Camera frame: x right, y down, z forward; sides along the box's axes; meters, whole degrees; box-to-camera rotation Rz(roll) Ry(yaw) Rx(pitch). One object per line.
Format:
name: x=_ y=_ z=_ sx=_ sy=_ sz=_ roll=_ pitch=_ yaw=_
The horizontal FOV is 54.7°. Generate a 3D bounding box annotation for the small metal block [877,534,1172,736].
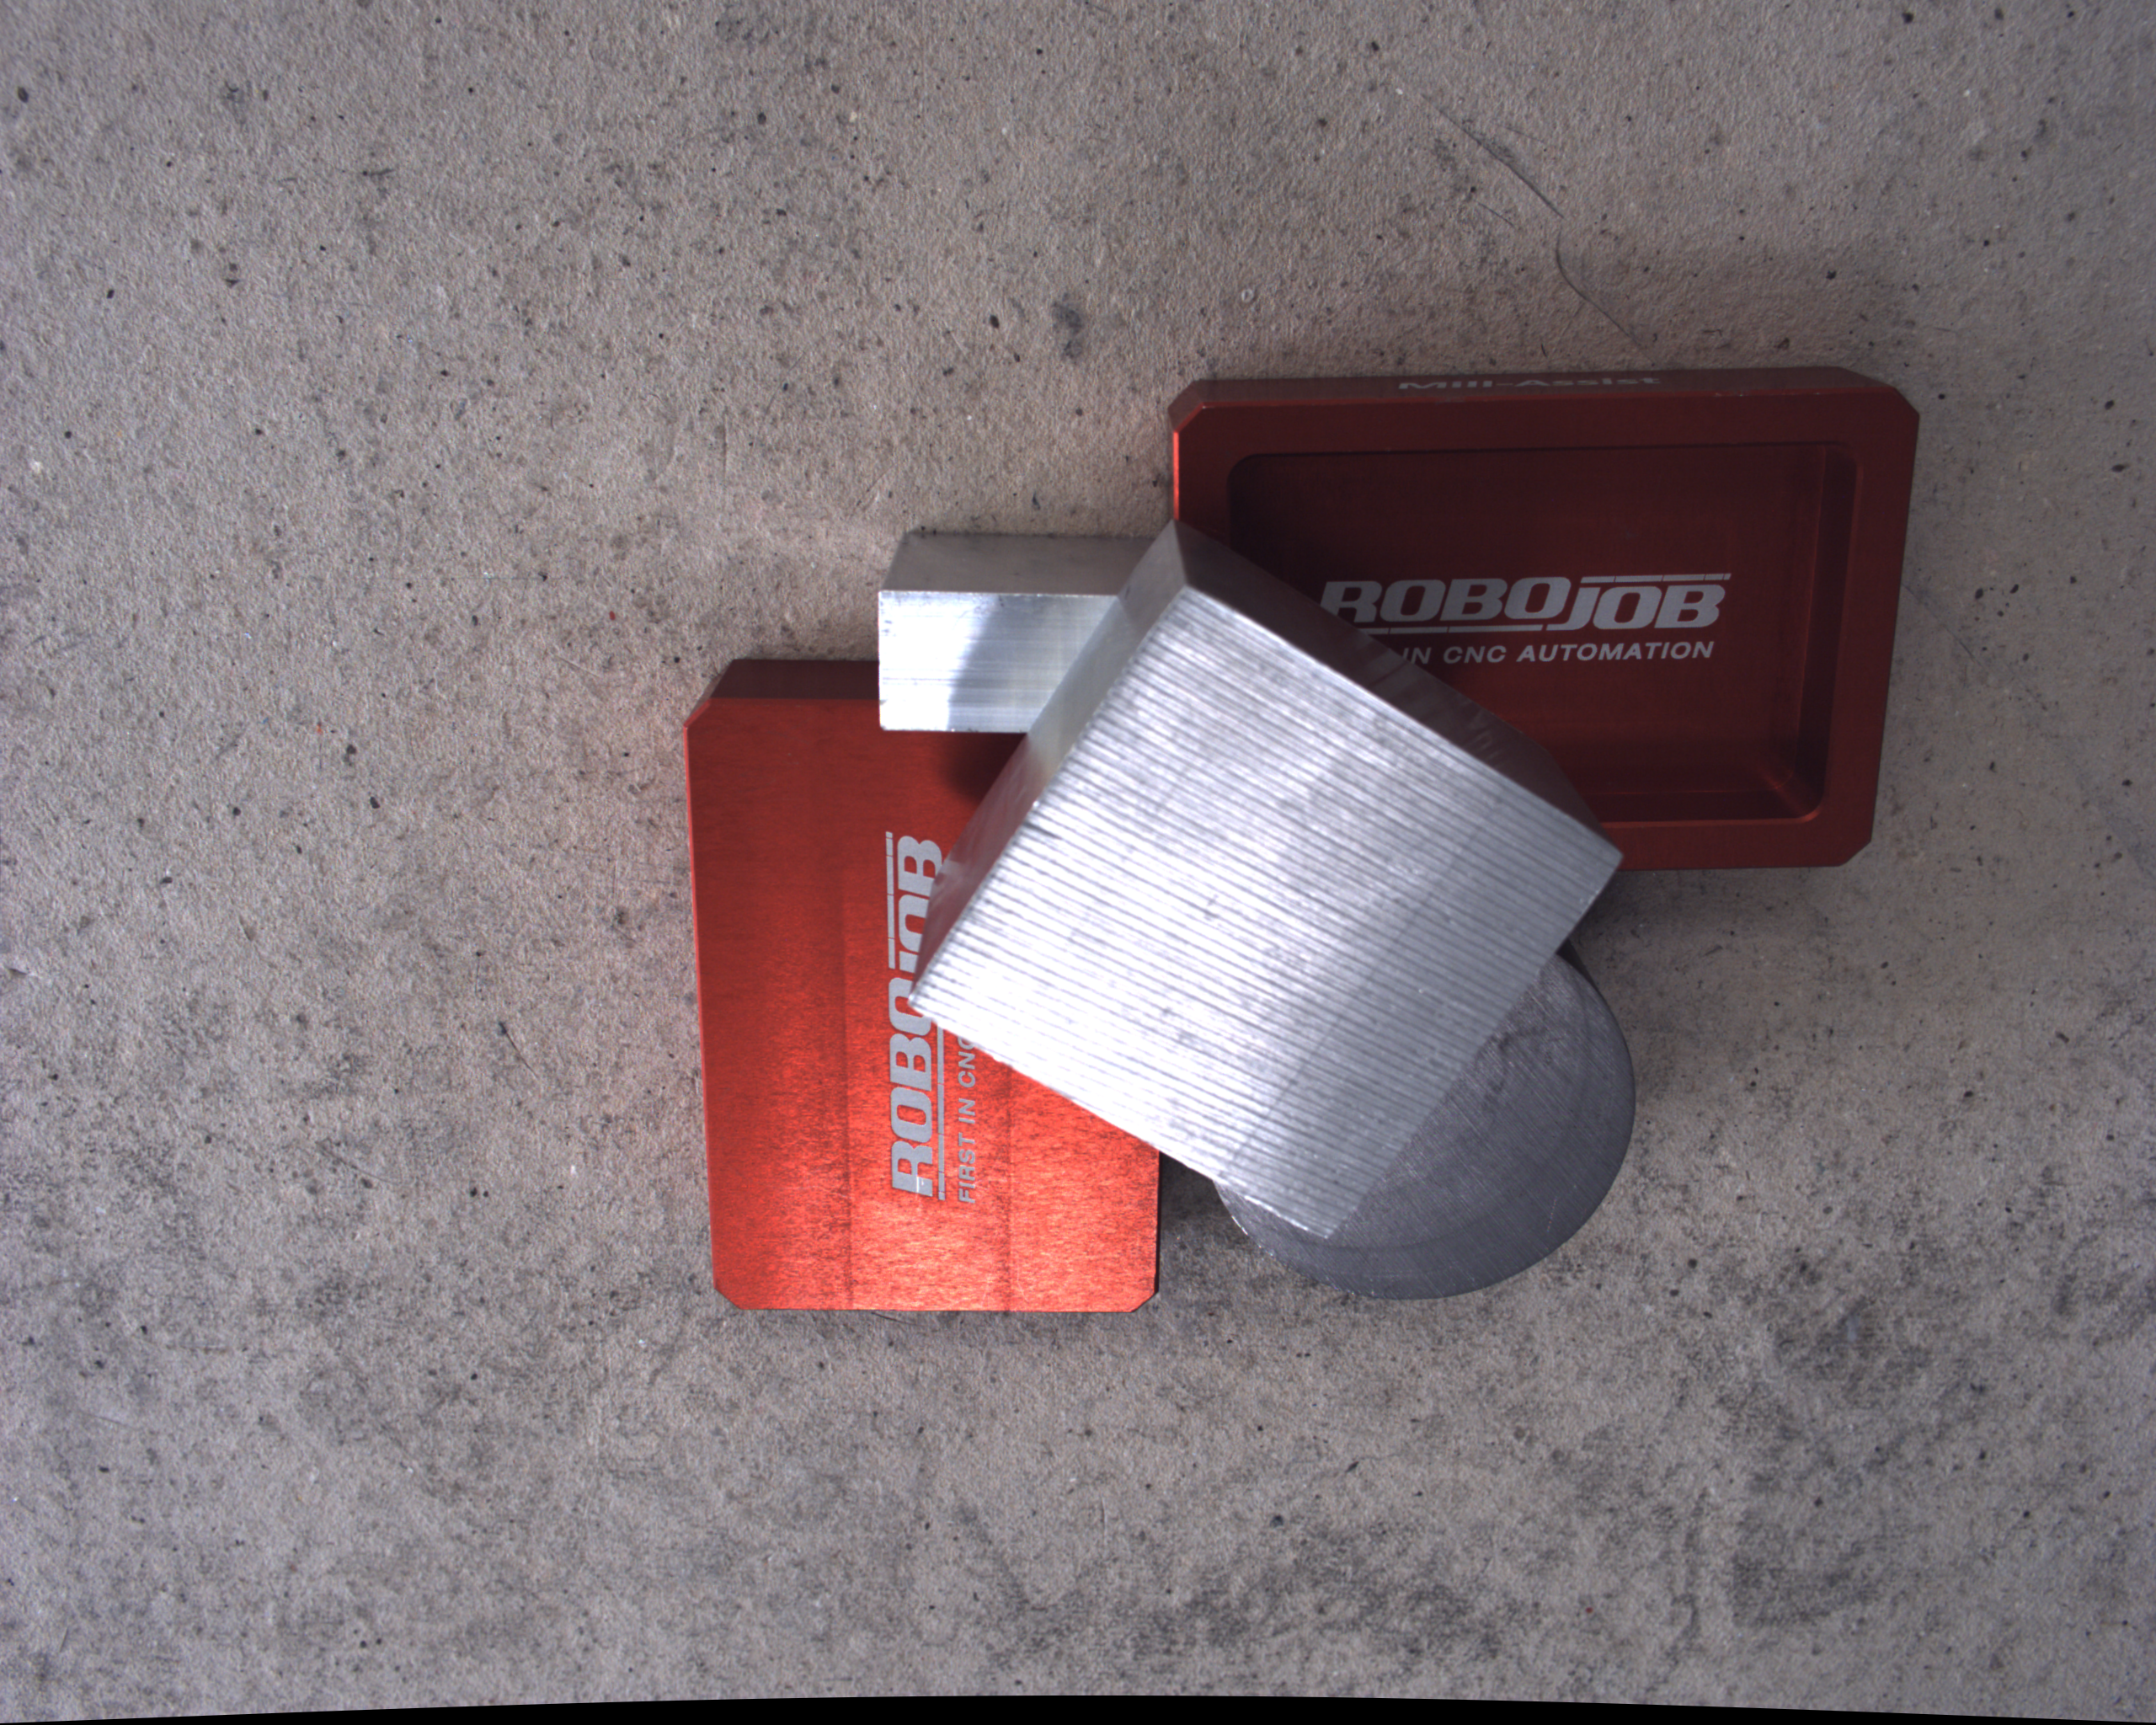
small metal block: x=-0.009 y=-0.043 z=0.382 sx=0.050 sy=0.050 sz=0.025 roll=1 pitch=110 yaw=-1

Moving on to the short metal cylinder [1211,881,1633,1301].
short metal cylinder: x=0.063 y=0.039 z=0.412 sx=0.080 sy=0.050 sz=0.079 roll=0 pitch=110 yaw=0

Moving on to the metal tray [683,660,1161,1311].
metal tray: x=-0.028 y=0.026 z=0.419 sx=0.091 sy=0.030 sz=0.129 roll=1 pitch=110 yaw=0

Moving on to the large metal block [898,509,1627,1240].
large metal block: x=0.028 y=0.001 z=0.344 sx=0.080 sy=0.050 sz=0.080 roll=31 pitch=107 yaw=-11

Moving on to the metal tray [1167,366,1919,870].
metal tray: x=0.083 y=-0.045 z=0.392 sx=0.131 sy=0.030 sz=0.089 roll=-2 pitch=110 yaw=0
